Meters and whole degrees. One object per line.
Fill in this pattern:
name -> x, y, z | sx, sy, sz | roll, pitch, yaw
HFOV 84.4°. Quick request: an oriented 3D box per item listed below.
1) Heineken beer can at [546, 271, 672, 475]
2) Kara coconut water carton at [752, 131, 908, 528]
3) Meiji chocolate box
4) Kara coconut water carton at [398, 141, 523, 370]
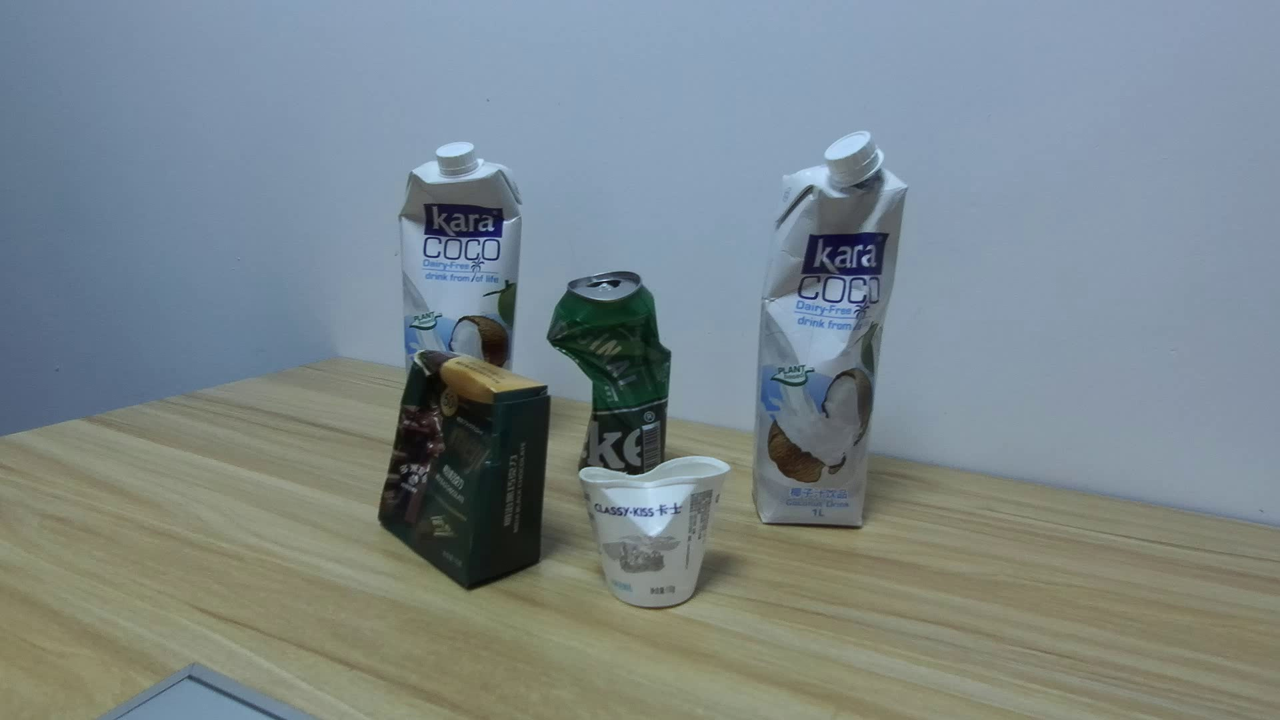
Heineken beer can -> -0.016, 0.018, 0.522 | 0.067, 0.159, 0.079 | 5, 18, 28
Kara coconut water carton -> 0.122, -0.017, 0.474 | 0.083, 0.255, 0.078 | 7, 16, 13
Meiji chocolate box -> -0.108, 0.061, 0.433 | 0.058, 0.110, 0.112 | 0, 11, -45
Kara coconut water carton -> -0.142, -0.047, 0.573 | 0.099, 0.244, 0.071 | 1, 12, -1
